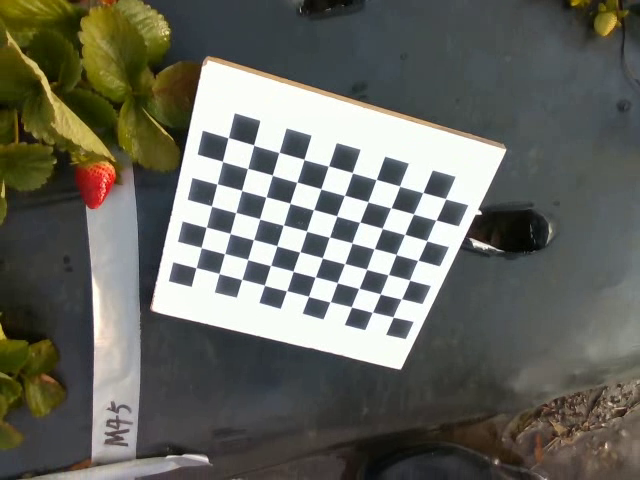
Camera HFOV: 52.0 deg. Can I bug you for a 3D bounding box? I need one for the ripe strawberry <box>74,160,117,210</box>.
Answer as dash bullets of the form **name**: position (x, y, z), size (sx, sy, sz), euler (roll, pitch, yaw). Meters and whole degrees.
- **ripe strawberry**: position (-0.198, -0.048, 0.573), size (0.050, 0.055, 0.035), euler (6, 10, -13)
